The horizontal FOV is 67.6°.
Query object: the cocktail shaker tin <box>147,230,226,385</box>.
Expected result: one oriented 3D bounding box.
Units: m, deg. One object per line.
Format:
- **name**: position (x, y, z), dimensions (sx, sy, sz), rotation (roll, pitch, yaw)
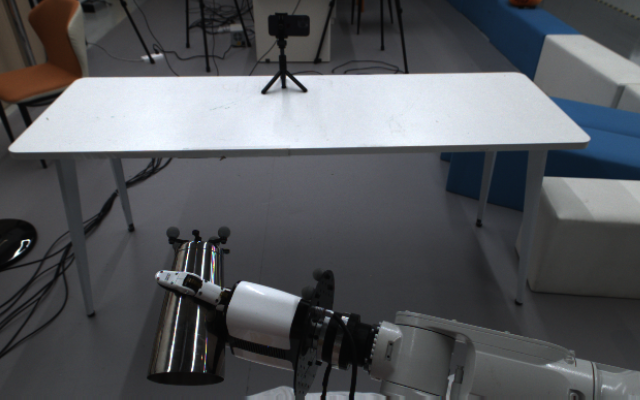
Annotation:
- **cocktail shaker tin**: position (-0.165, 0.144, 0.626), dimensions (0.093, 0.093, 0.170), rotation (0, 59, -3)
